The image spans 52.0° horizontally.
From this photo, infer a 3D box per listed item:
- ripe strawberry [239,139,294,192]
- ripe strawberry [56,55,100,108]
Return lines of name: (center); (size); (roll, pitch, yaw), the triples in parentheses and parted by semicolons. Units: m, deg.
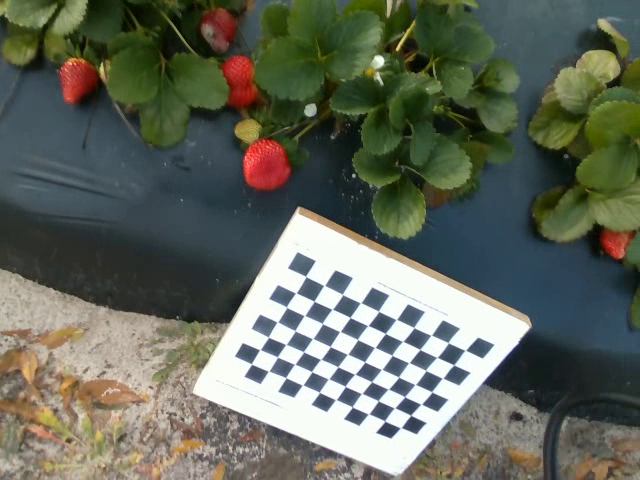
ripe strawberry: (-0.025, -0.029, 0.282); (0.022, 0.025, 0.030); (23, 37, 17)
ripe strawberry: (-0.101, -0.064, 0.268); (0.018, 0.022, 0.017); (7, -13, -4)
